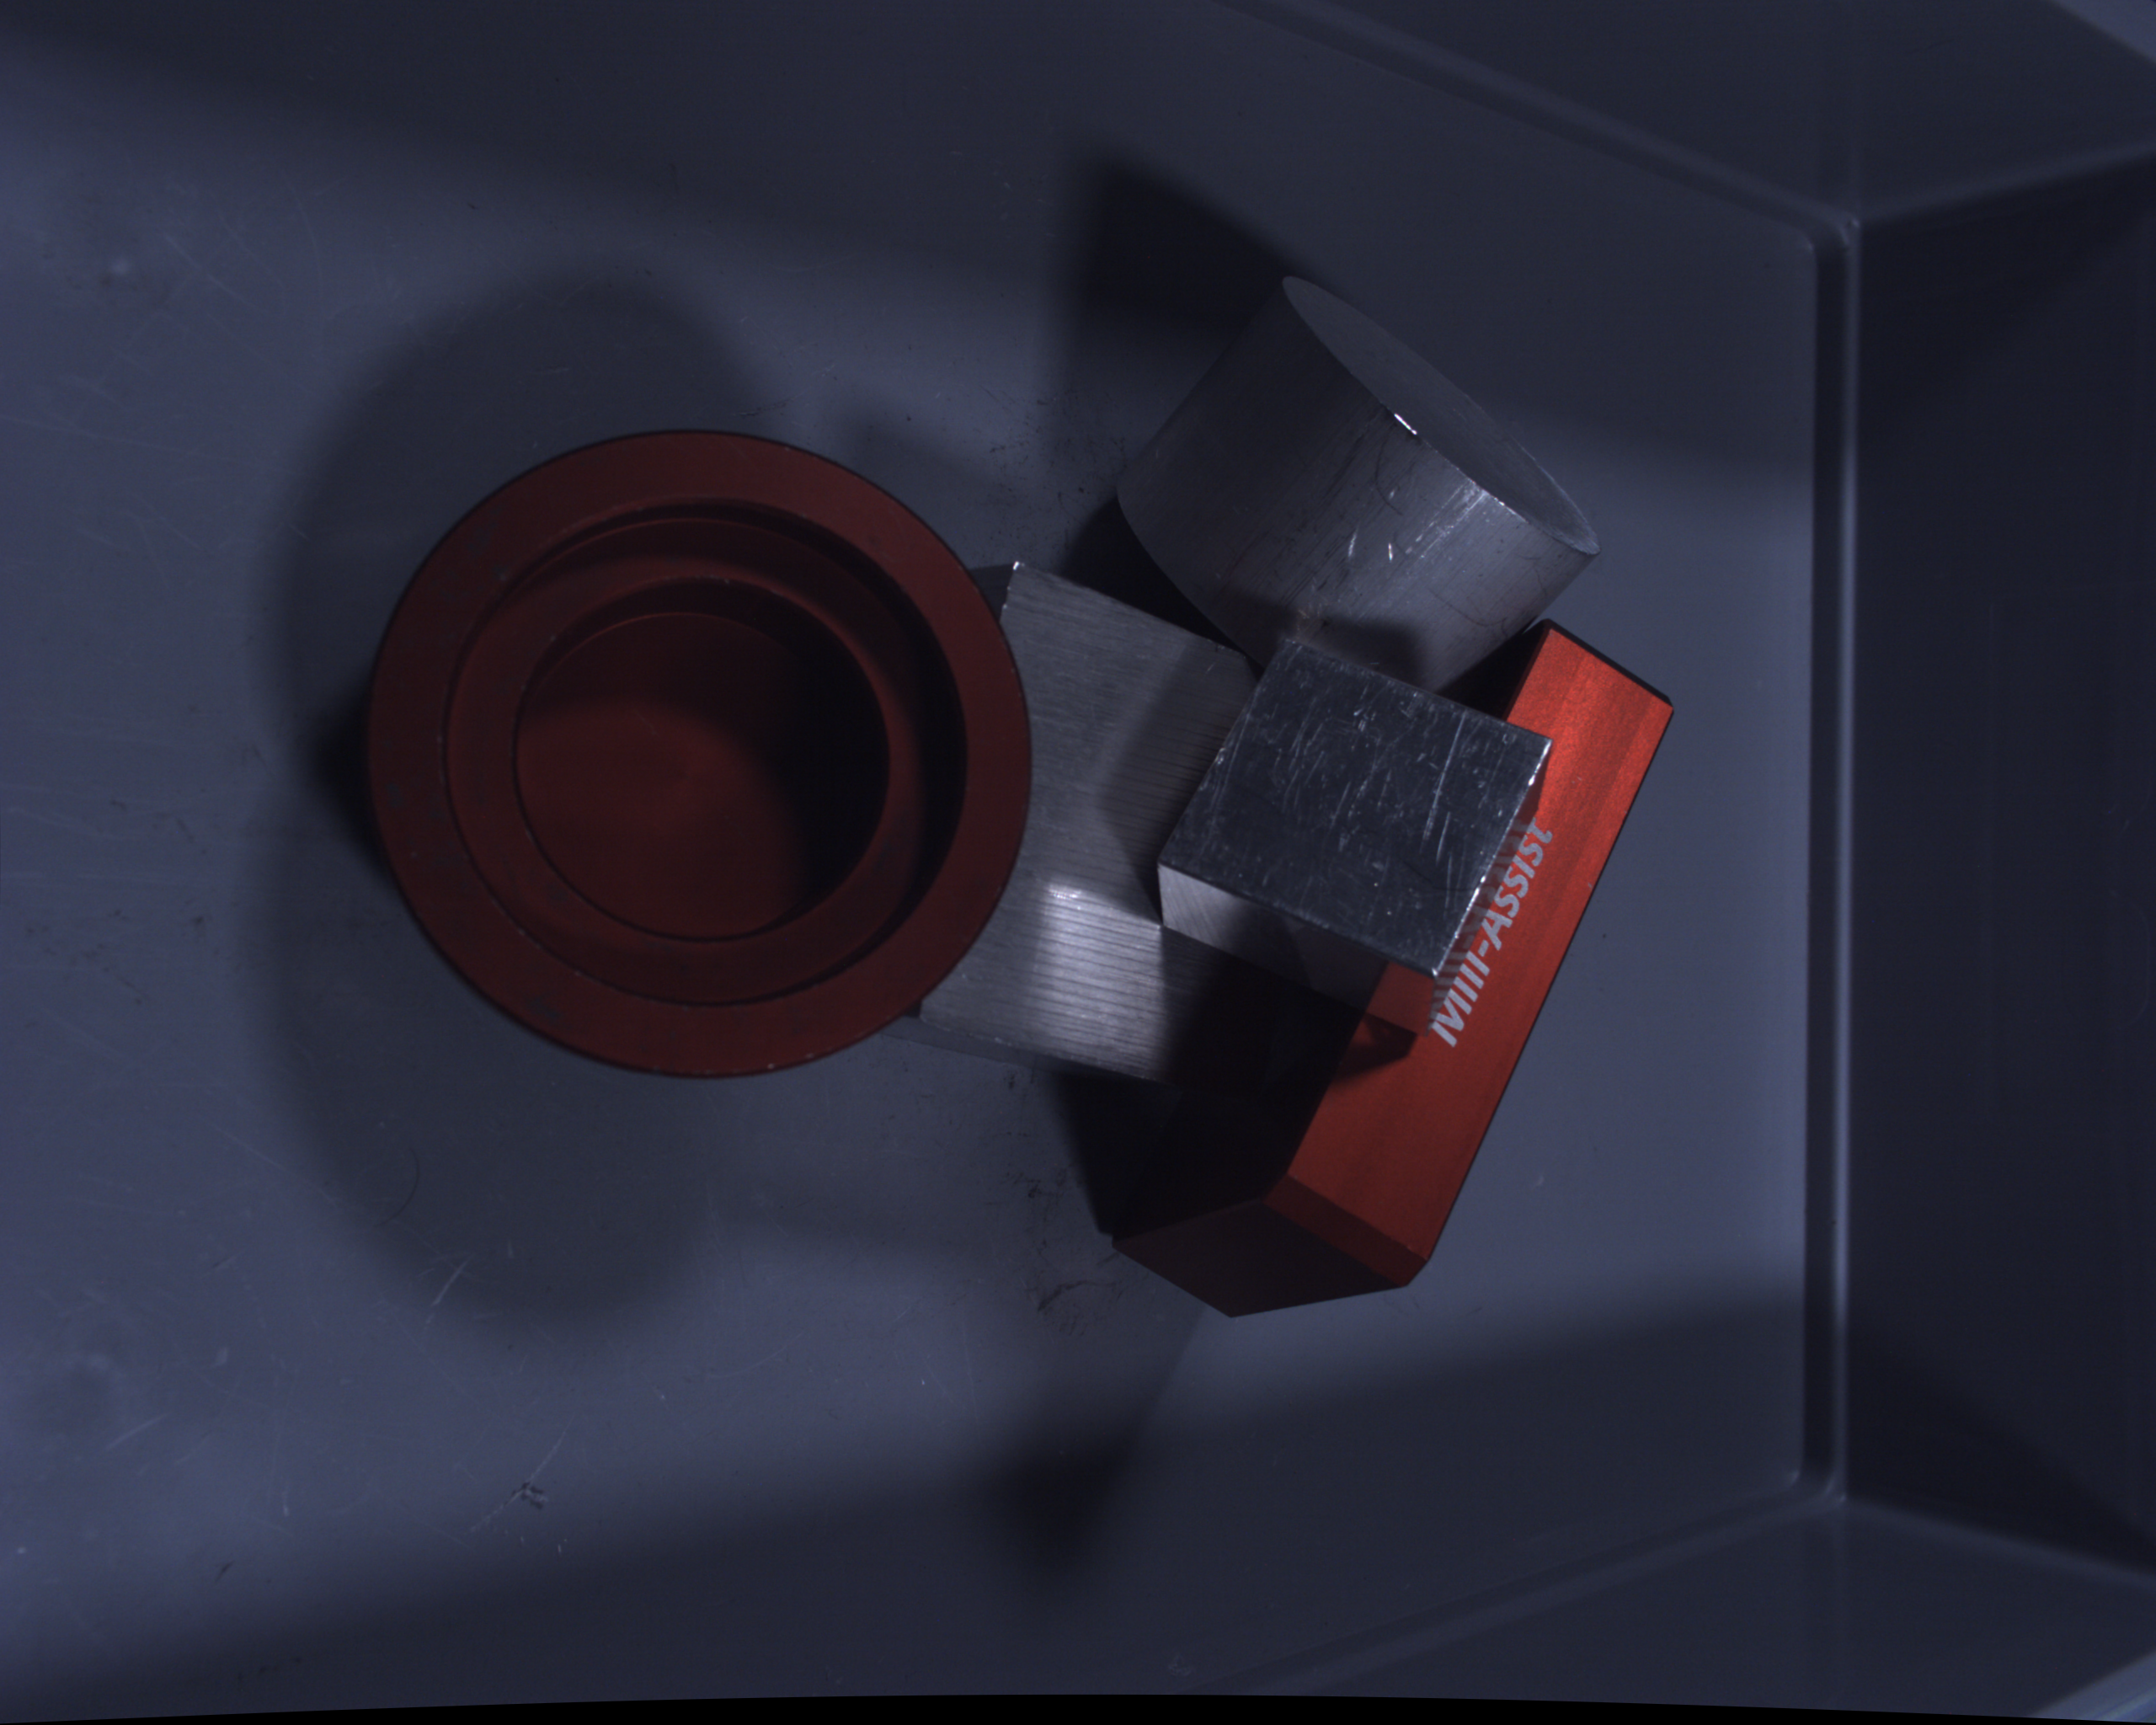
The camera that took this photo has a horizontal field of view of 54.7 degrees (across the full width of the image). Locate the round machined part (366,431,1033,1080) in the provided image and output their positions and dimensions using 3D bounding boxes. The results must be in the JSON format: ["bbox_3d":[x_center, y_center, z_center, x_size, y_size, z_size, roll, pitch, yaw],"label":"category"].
[{"bbox_3d":[-0.060,-0.015,0.330,0.099,0.042,0.097,2,85,-17],"label":"round machined part"}]

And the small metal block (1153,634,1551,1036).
[{"bbox_3d":[0.048,-0.005,0.363,0.050,0.050,0.025,-60,162,-23],"label":"small metal block"}]

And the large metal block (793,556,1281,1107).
[{"bbox_3d":[-0.005,-0.003,0.387,0.080,0.050,0.080,19,78,-39],"label":"large metal block"}]

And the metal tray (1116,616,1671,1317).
[{"bbox_3d":[0.061,0.023,0.414,0.030,0.090,0.130,32,67,-7],"label":"metal tray"}]

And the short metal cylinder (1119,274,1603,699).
[{"bbox_3d":[0.055,-0.069,0.409,0.080,0.080,0.050,21,121,-38],"label":"short metal cylinder"}]
